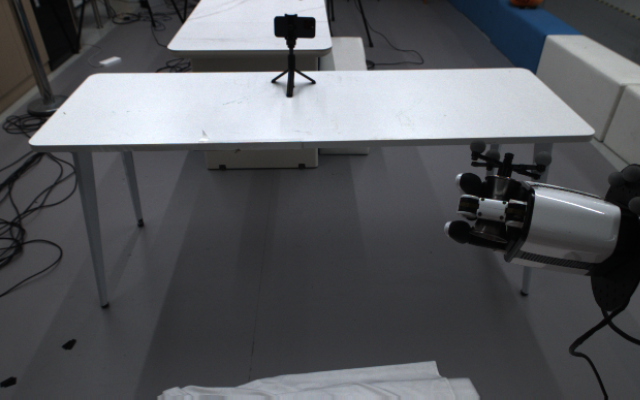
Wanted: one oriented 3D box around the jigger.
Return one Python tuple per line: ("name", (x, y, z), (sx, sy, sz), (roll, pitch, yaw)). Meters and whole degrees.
("jigger", (0.203, 0.010, 0.552), (0.043, 0.071, 0.043), (16, -7, 2))
